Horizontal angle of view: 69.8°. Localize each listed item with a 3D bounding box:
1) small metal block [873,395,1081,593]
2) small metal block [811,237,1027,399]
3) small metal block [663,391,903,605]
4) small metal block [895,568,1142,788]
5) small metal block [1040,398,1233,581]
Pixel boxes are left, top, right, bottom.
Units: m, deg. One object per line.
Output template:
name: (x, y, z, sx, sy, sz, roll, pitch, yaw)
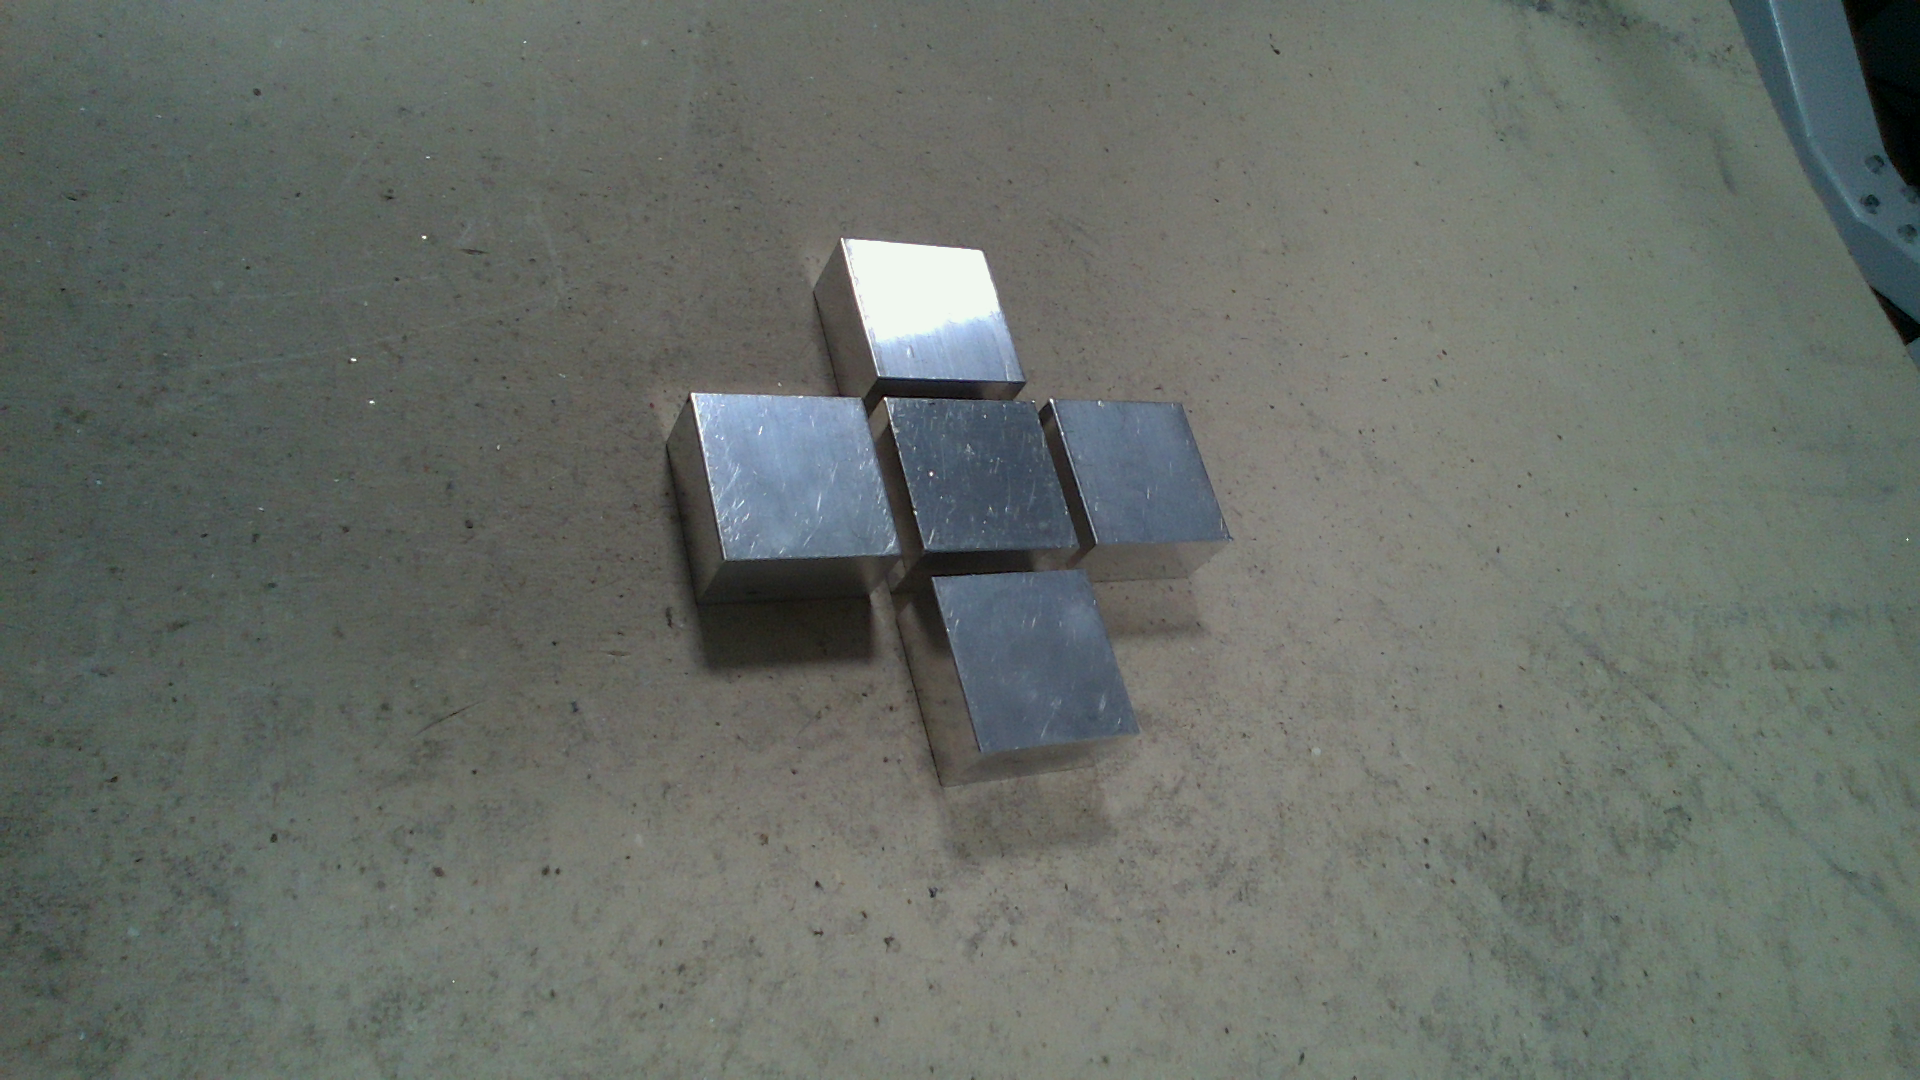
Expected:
small metal block: (0.001, -0.014, 0.399, 0.050, 0.025, 0.050, -2, 62, -29)
small metal block: (-0.013, -0.063, 0.421, 0.050, 0.025, 0.050, -2, 62, -29)
small metal block: (-0.048, -0.012, 0.371, 0.050, 0.025, 0.050, -2, 62, -29)
small metal block: (0.015, 0.037, 0.376, 0.050, 0.025, 0.050, -2, 63, -29)
small metal block: (0.050, -0.016, 0.426, 0.050, 0.025, 0.050, -2, 62, -29)
